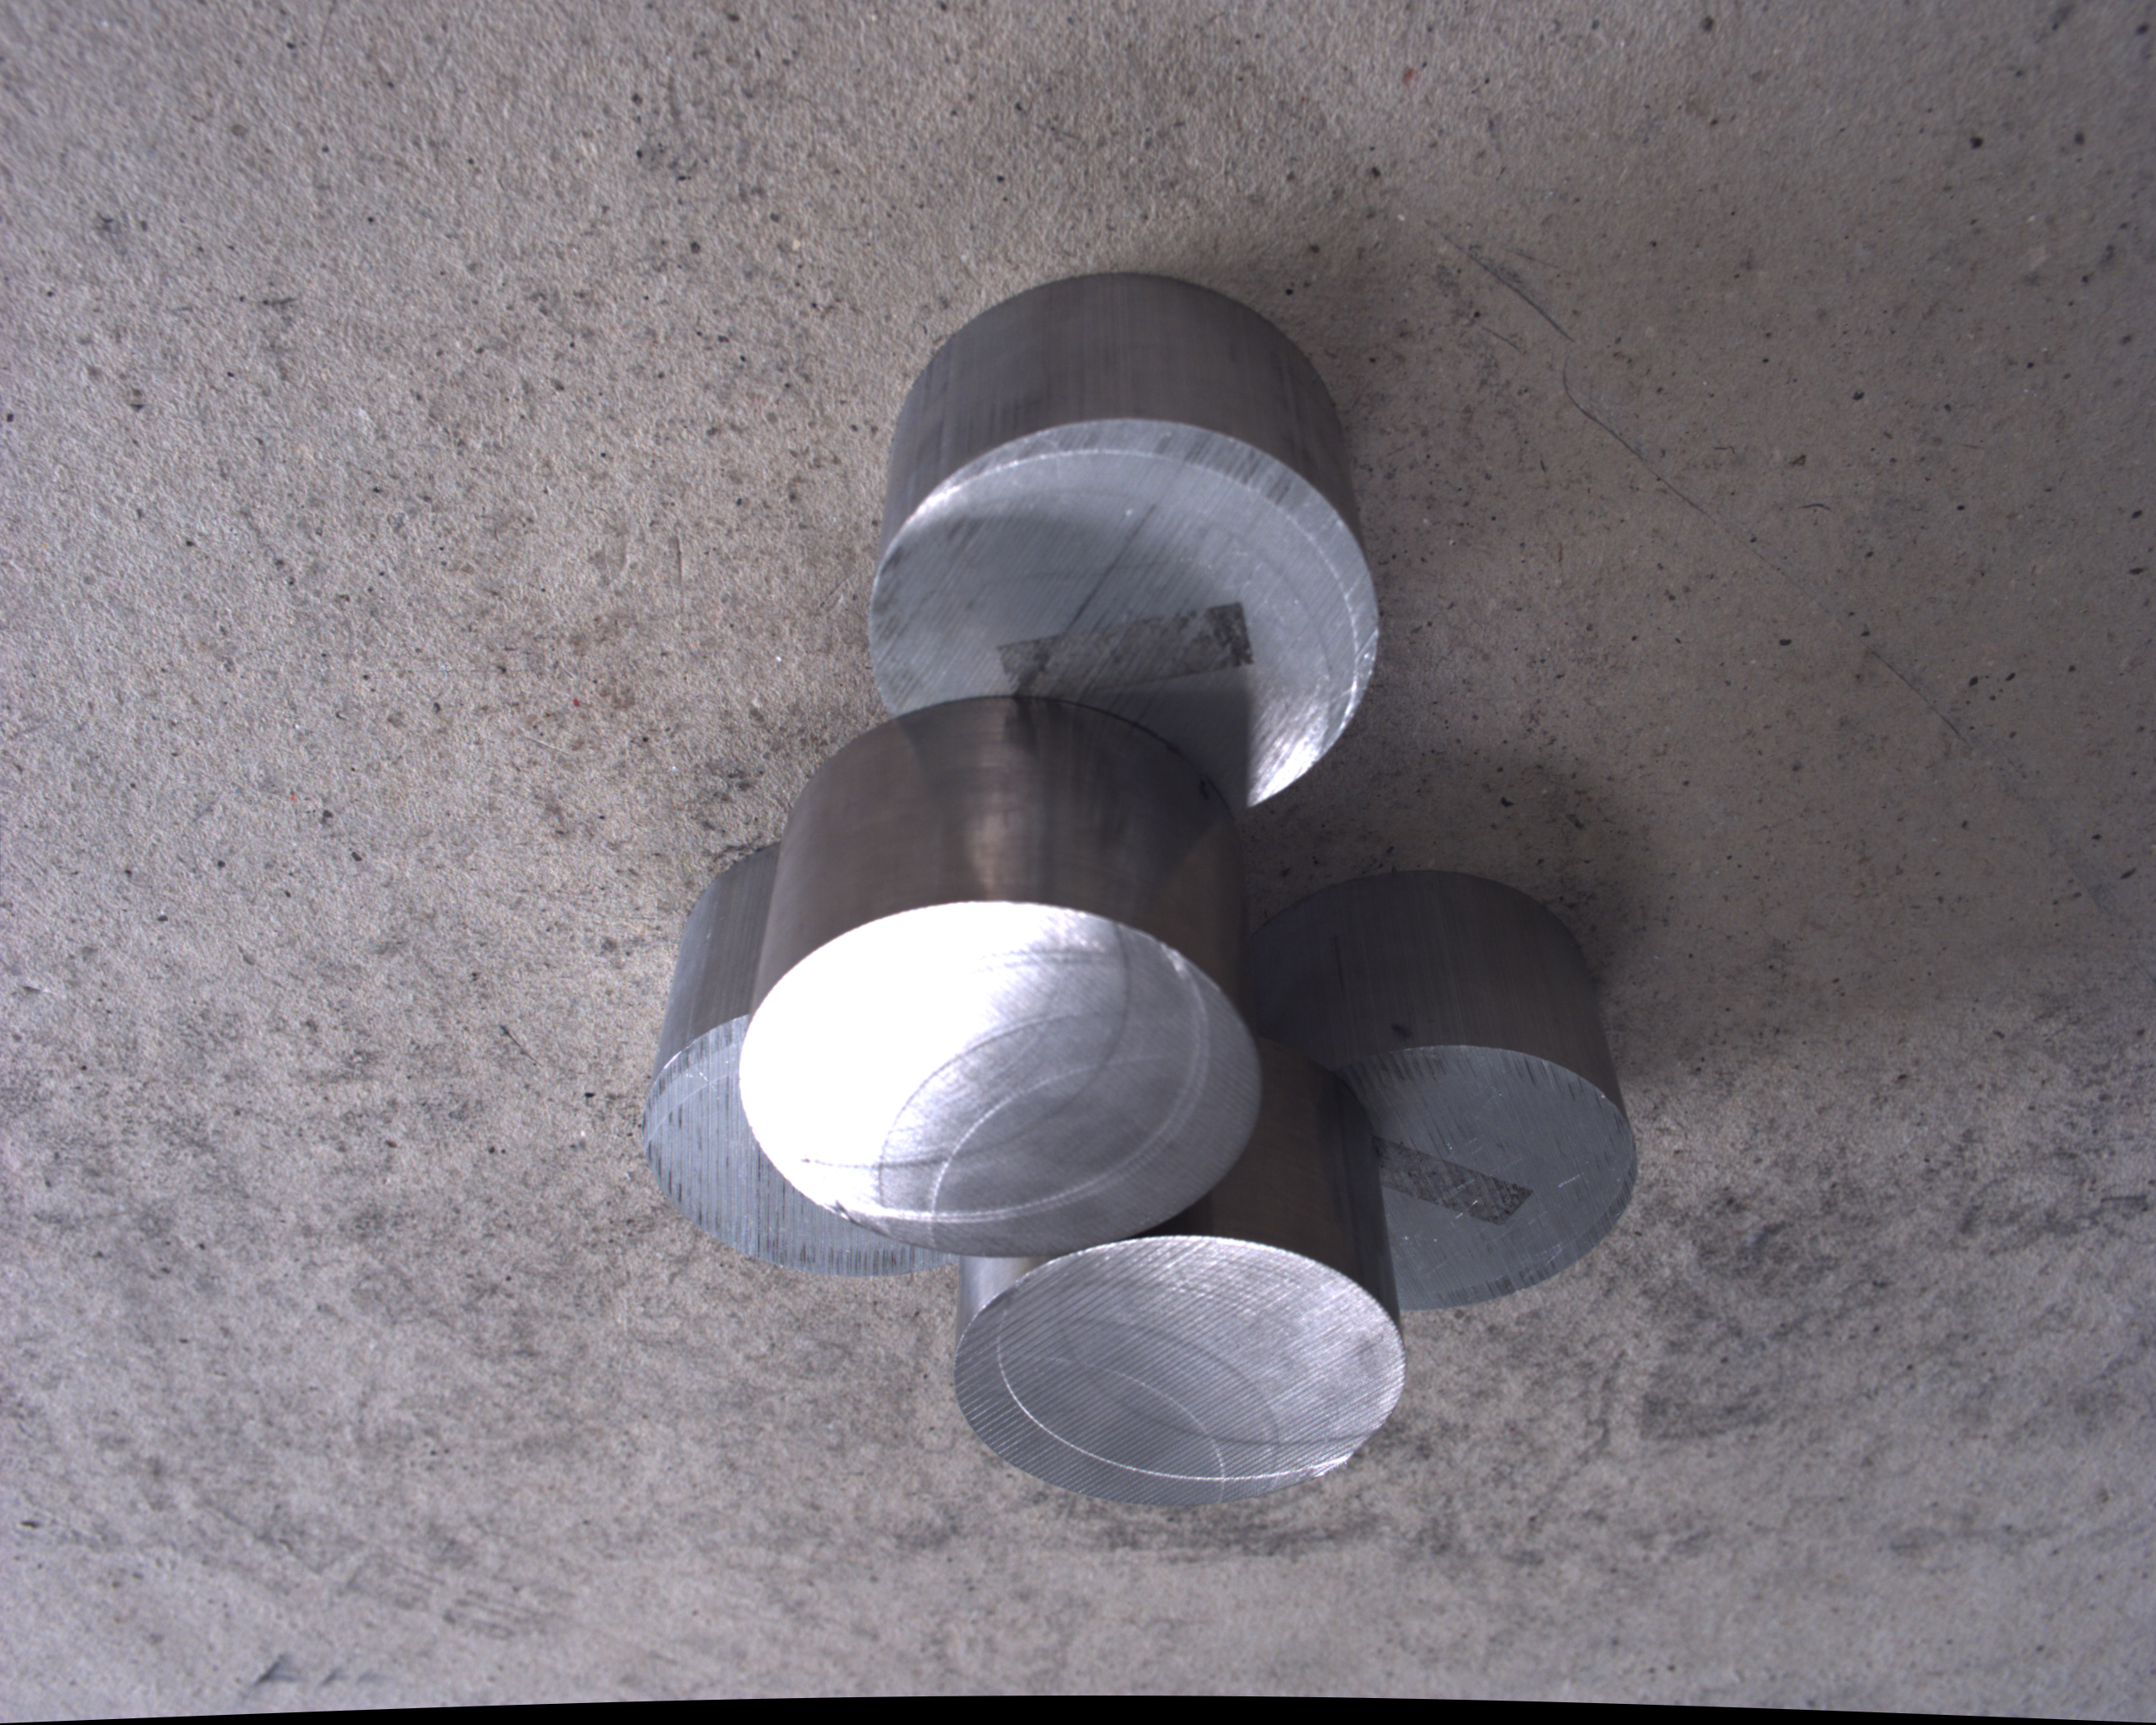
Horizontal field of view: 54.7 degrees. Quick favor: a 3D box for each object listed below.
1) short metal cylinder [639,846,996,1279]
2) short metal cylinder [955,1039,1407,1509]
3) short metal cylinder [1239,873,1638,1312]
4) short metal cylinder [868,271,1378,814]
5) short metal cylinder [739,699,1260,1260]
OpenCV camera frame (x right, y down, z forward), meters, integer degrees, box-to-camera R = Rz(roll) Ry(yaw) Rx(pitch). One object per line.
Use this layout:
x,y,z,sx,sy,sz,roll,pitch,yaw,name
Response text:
-0.045,0.040,0.426,0.081,0.050,0.079,0,130,0,short metal cylinder
0.018,0.077,0.391,0.081,0.050,0.079,-1,130,0,short metal cylinder
0.071,0.049,0.434,0.081,0.050,0.079,0,130,0,short metal cylinder
0.007,-0.051,0.349,0.081,0.050,0.079,0,130,0,short metal cylinder
-0.012,0.020,0.342,0.080,0.050,0.079,0,130,0,short metal cylinder
